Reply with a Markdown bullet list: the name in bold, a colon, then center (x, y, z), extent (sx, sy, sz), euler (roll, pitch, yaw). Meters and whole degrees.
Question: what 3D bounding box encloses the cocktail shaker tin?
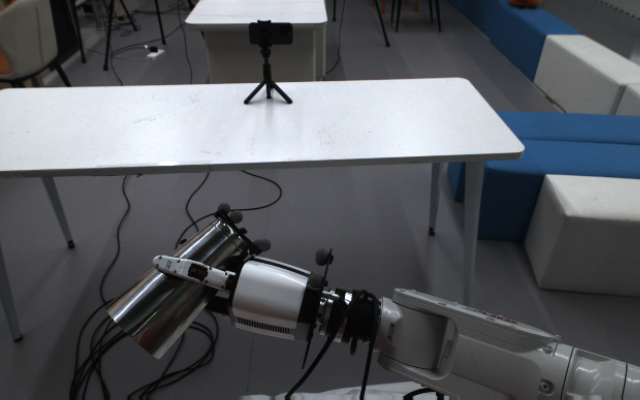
- **cocktail shaker tin**: center (-0.172, 0.101, 0.616), extent (0.093, 0.093, 0.170), euler (32, 65, 36)
